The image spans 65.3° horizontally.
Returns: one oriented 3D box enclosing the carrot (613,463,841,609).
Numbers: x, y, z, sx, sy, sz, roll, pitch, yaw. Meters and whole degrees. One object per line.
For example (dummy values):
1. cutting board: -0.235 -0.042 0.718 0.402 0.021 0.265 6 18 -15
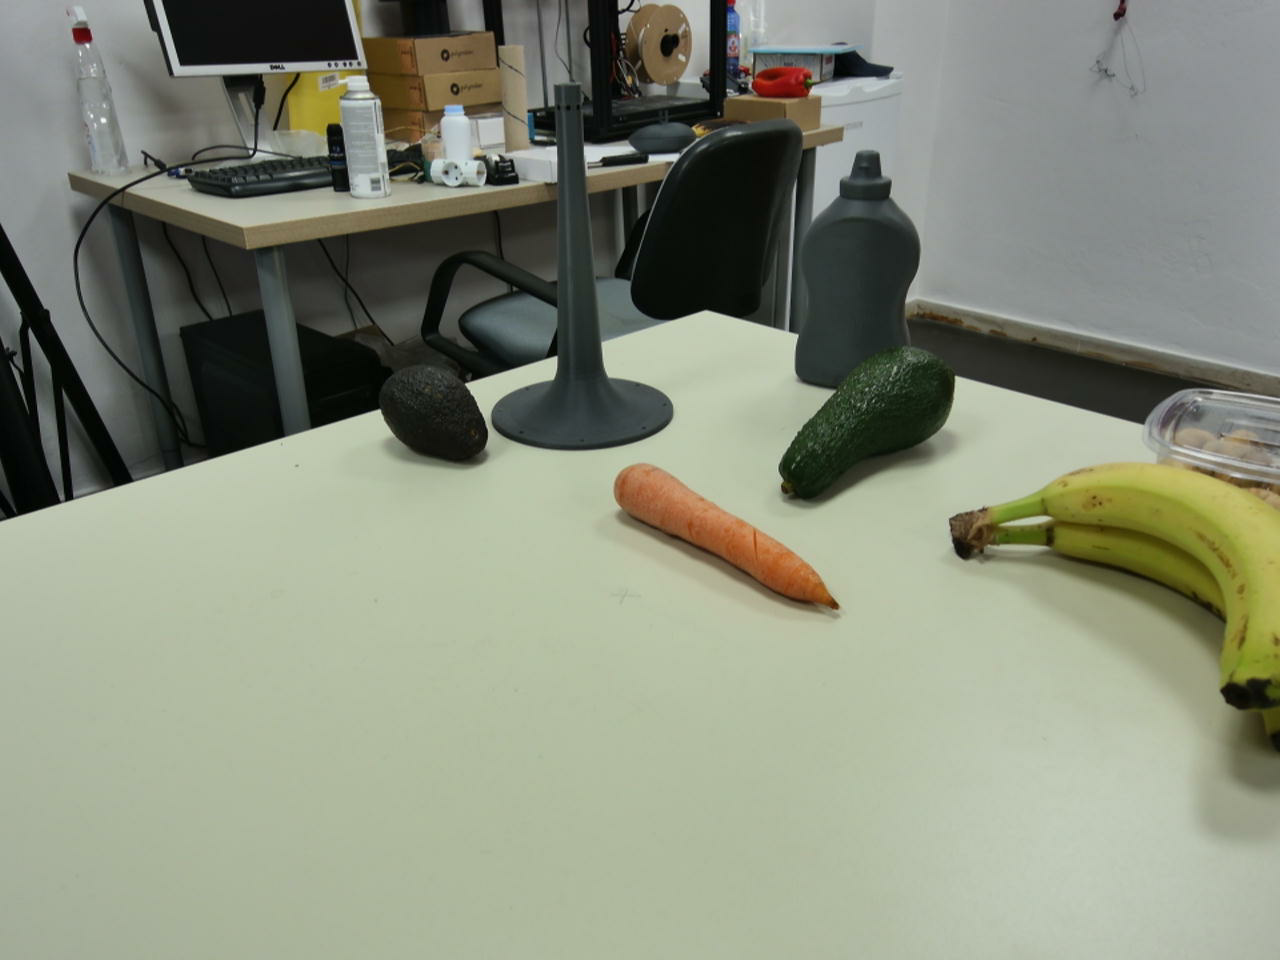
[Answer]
1. carrot: 0.054 0.032 0.651 0.039 0.041 0.196 -20 32 -38
